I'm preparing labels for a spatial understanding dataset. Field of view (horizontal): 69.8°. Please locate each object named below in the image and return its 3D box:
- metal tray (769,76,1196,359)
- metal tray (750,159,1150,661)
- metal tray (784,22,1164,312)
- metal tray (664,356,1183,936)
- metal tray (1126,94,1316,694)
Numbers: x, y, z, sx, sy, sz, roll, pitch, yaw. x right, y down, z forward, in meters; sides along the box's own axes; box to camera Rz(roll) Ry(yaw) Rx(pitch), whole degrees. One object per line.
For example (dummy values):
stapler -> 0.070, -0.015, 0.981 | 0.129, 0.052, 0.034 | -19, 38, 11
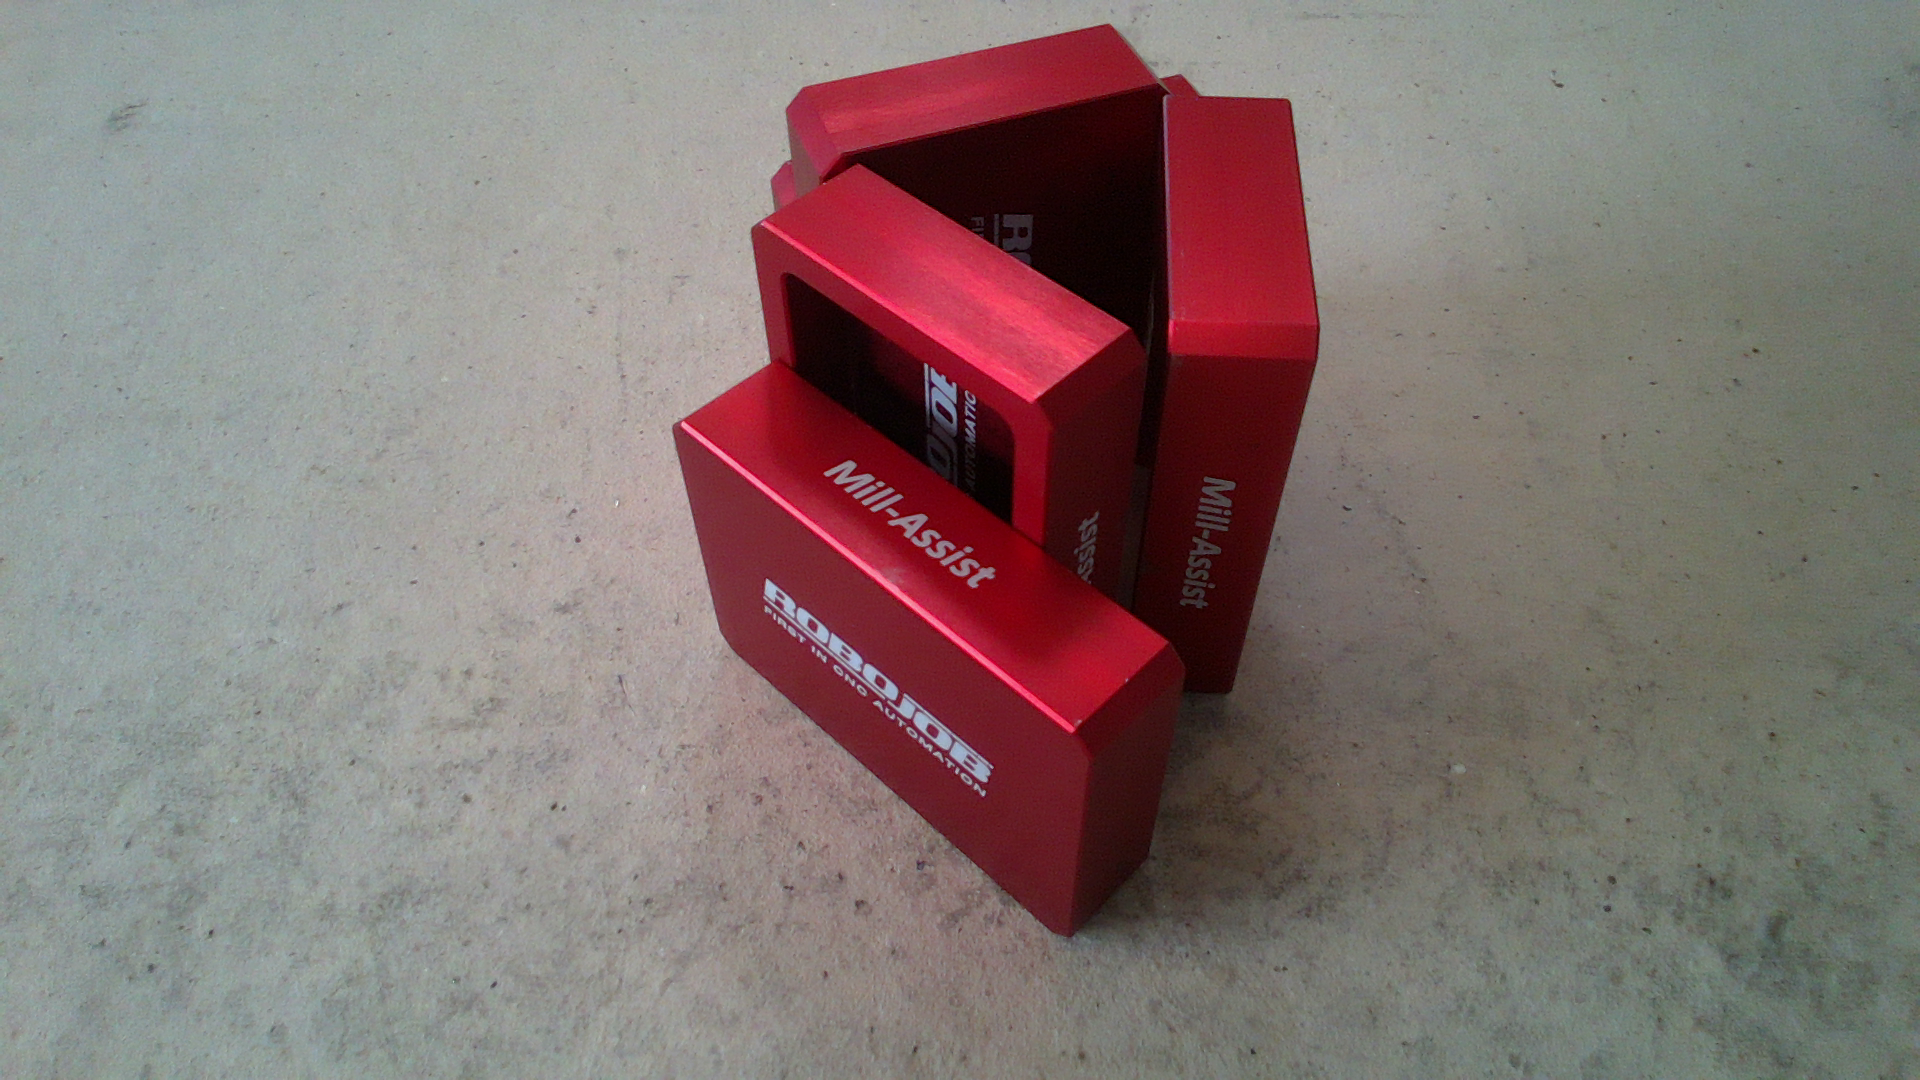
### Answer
metal tray -> 0.013, -0.082, 0.418 | 0.130, 0.090, 0.030 | -15, 51, -13
metal tray -> -0.004, -0.015, 0.335 | 0.090, 0.130, 0.030 | 36, 58, 27
metal tray -> 0.005, -0.068, 0.380 | 0.090, 0.130, 0.030 | -16, 52, -13
metal tray -> -0.012, 0.025, 0.327 | 0.130, 0.090, 0.030 | 36, 59, 26
metal tray -> 0.060, -0.033, 0.350 | 0.030, 0.130, 0.090 | 3, 50, 3
